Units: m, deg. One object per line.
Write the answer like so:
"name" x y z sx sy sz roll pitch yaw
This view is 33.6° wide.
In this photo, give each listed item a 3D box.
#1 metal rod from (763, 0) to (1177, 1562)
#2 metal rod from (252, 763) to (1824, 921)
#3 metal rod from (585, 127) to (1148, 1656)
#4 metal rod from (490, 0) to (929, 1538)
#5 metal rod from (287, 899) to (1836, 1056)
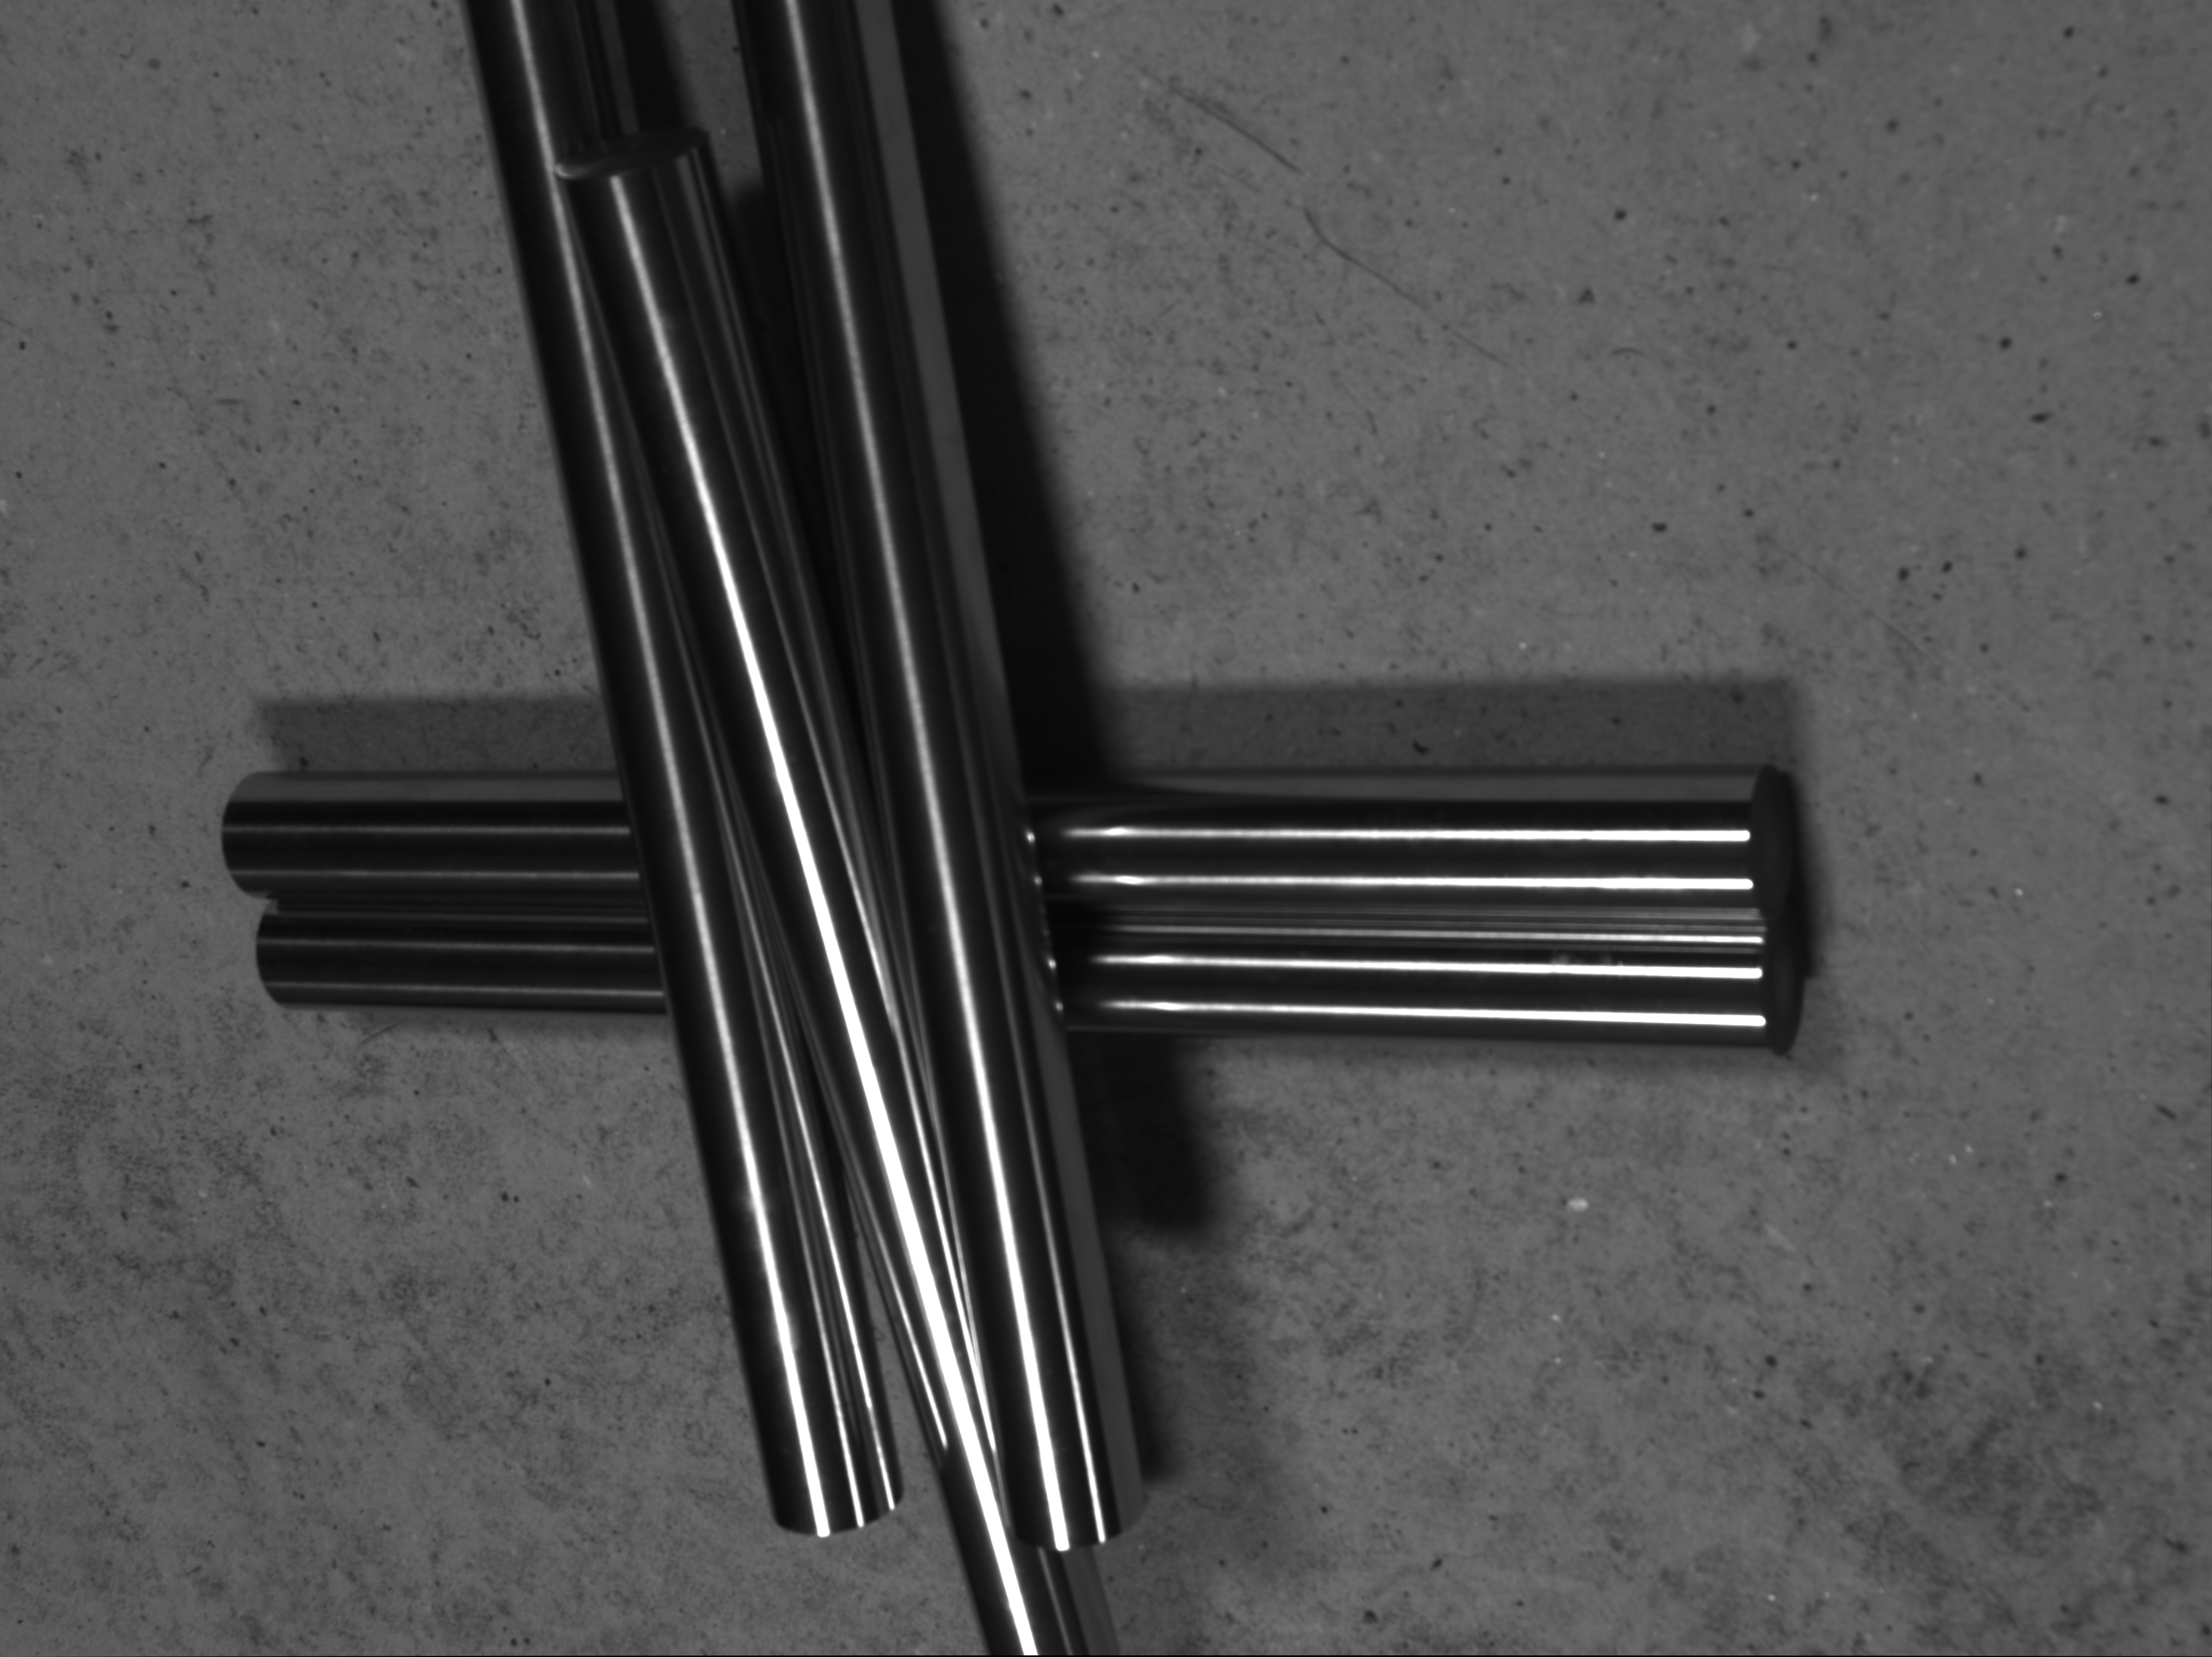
"metal rod" -0.023 -0.017 0.605 0.025 0.025 0.300 0 110 27
"metal rod" -0.024 0.002 0.645 0.299 0.025 0.025 0 118 26
"metal rod" -0.037 0.027 0.634 0.025 0.025 0.300 0 118 27
"metal rod" -0.068 -0.017 0.629 0.025 0.025 0.300 0 110 27
"metal rod" -0.020 0.024 0.656 0.299 0.025 0.025 0 118 26
